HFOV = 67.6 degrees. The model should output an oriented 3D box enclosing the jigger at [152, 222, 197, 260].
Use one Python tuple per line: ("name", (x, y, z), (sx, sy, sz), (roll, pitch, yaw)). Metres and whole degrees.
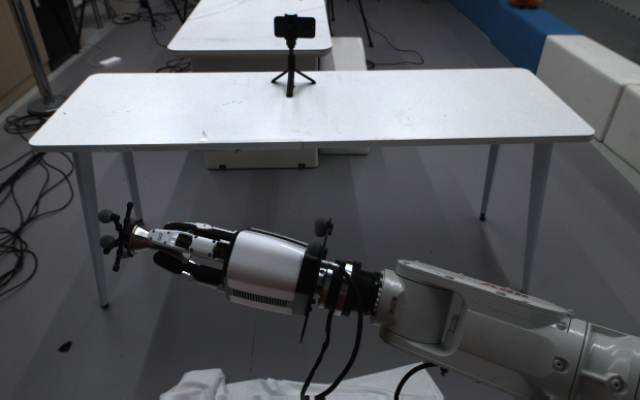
("jigger", (-0.192, 0.051, 0.615), (0.071, 0.043, 0.043), (8, 35, 2))
